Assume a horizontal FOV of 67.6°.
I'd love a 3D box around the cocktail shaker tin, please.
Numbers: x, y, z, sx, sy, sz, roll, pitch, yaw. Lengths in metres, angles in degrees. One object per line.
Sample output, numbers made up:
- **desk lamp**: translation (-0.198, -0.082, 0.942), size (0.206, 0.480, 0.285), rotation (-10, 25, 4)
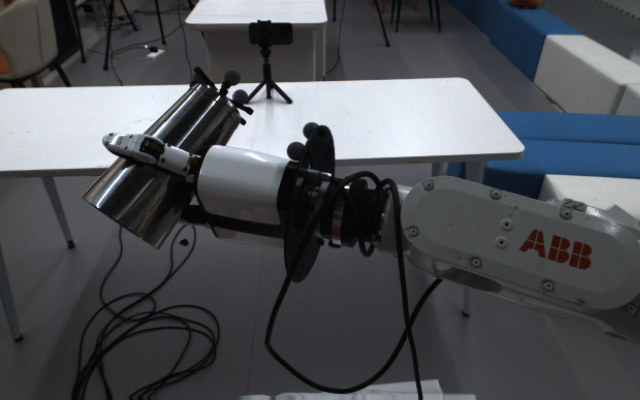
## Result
- **cocktail shaker tin**: translation (-0.162, -0.043, 0.523), size (0.093, 0.093, 0.170), rotation (24, 69, 28)
